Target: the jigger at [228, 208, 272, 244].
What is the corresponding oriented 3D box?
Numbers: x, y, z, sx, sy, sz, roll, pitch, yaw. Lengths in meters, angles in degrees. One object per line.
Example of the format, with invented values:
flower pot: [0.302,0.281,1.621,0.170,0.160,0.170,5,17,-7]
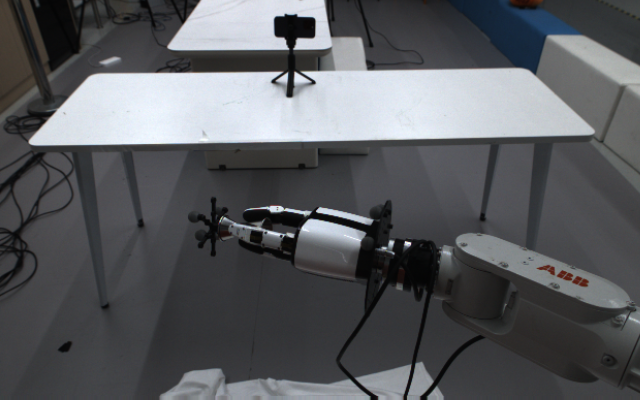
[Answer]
jigger: [-0.101,0.040,0.701,0.071,0.043,0.043,4,34,16]
